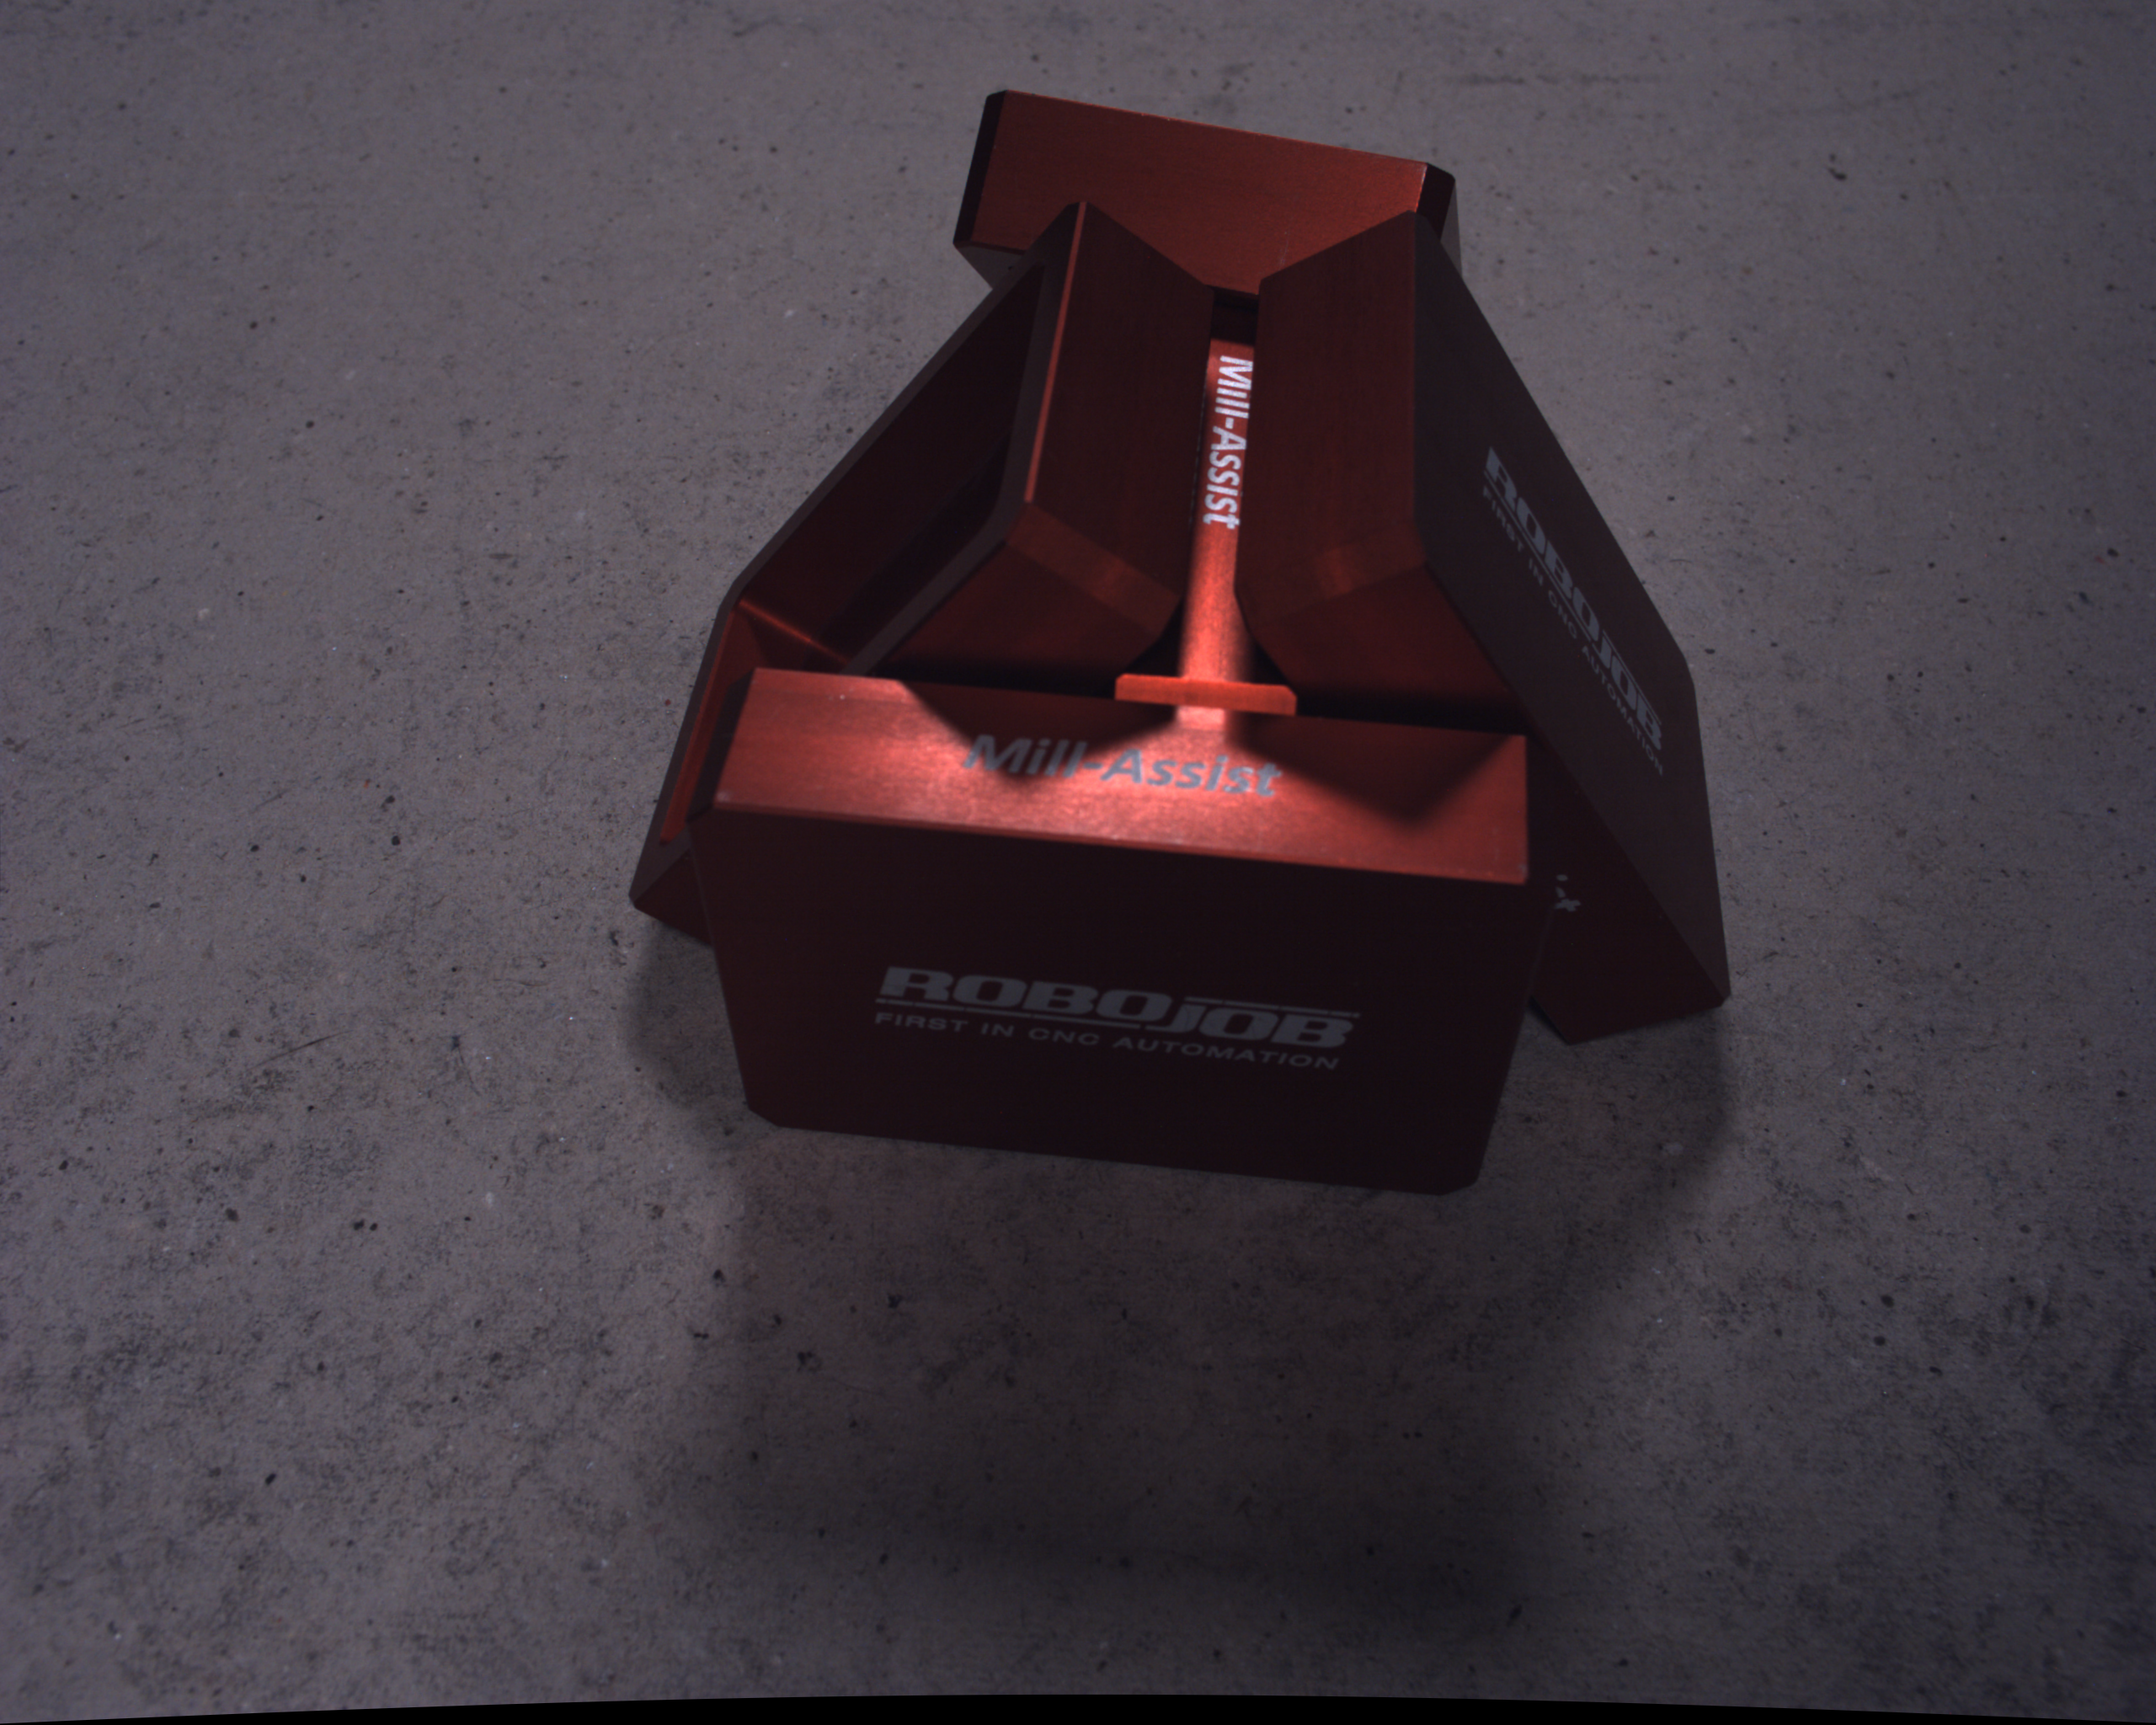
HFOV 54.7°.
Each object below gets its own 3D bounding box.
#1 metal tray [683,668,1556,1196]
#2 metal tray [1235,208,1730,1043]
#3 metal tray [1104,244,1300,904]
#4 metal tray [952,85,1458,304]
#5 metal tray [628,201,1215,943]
[{"bbox_3d":[0.007,0.014,0.350,0.131,0.089,0.030,5,51,4],"label":"metal tray"},{"bbox_3d":[0.076,-0.039,0.374,0.030,0.130,0.090,-19,44,29],"label":"metal tray"},{"bbox_3d":[0.026,-0.047,0.401,0.030,0.089,0.130,6,50,4],"label":"metal tray"},{"bbox_3d":[0.034,-0.123,0.448,0.090,0.130,0.030,14,93,11],"label":"metal tray"},{"bbox_3d":[-0.030,-0.047,0.381,0.030,0.129,0.090,30,46,-24],"label":"metal tray"}]
